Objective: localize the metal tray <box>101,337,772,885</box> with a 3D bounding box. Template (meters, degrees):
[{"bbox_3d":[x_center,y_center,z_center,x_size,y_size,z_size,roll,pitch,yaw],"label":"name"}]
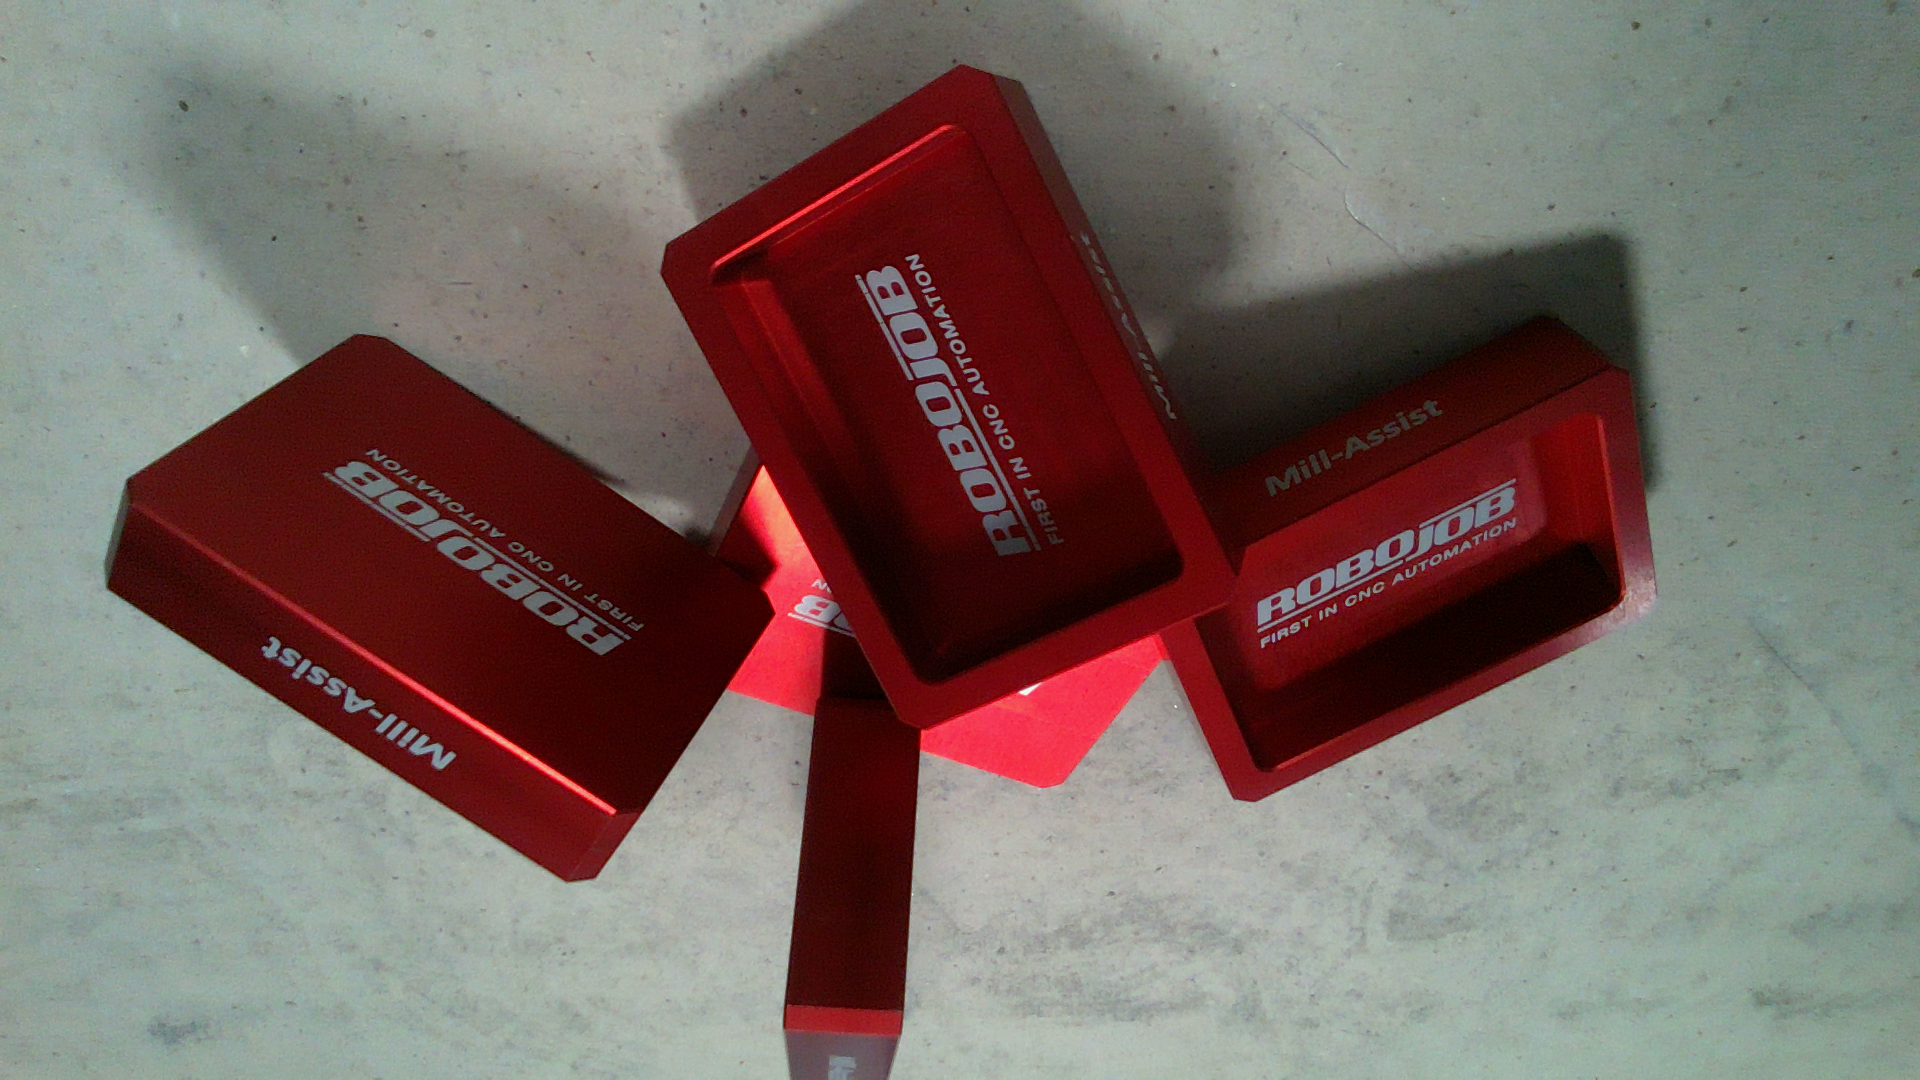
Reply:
[{"bbox_3d":[-0.121,0.013,0.339,0.130,0.090,0.030,35,124,-6],"label":"metal tray"}]

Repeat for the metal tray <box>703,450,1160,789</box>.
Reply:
[{"bbox_3d":[-0.010,0.019,0.403,0.130,0.030,0.090,20,127,-16],"label":"metal tray"}]

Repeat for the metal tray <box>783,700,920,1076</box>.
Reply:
[{"bbox_3d":[-0.033,0.115,0.419,0.030,0.090,0.130,4,151,-3],"label":"metal tray"}]

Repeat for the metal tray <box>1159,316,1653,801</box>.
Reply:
[{"bbox_3d":[0.117,0.008,0.373,0.130,0.030,0.090,-26,127,2],"label":"metal tray"}]

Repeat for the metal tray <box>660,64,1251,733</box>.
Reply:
[{"bbox_3d":[0.000,-0.030,0.323,0.090,0.030,0.130,-25,97,20],"label":"metal tray"}]
